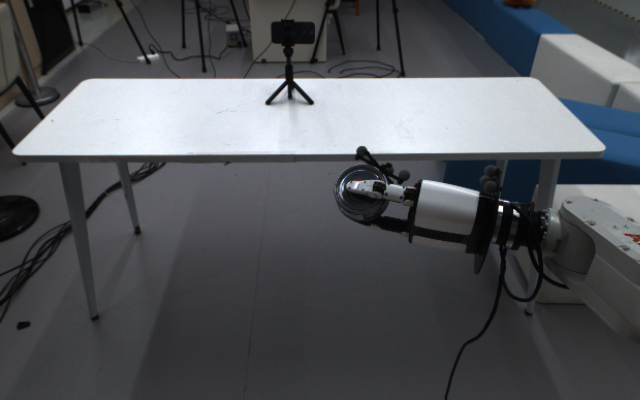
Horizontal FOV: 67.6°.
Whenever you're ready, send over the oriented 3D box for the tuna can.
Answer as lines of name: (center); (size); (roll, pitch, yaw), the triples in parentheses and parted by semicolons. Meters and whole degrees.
tuna can: (0.069, -0.006, 0.747); (0.085, 0.034, 0.085); (-4, 69, 10)
